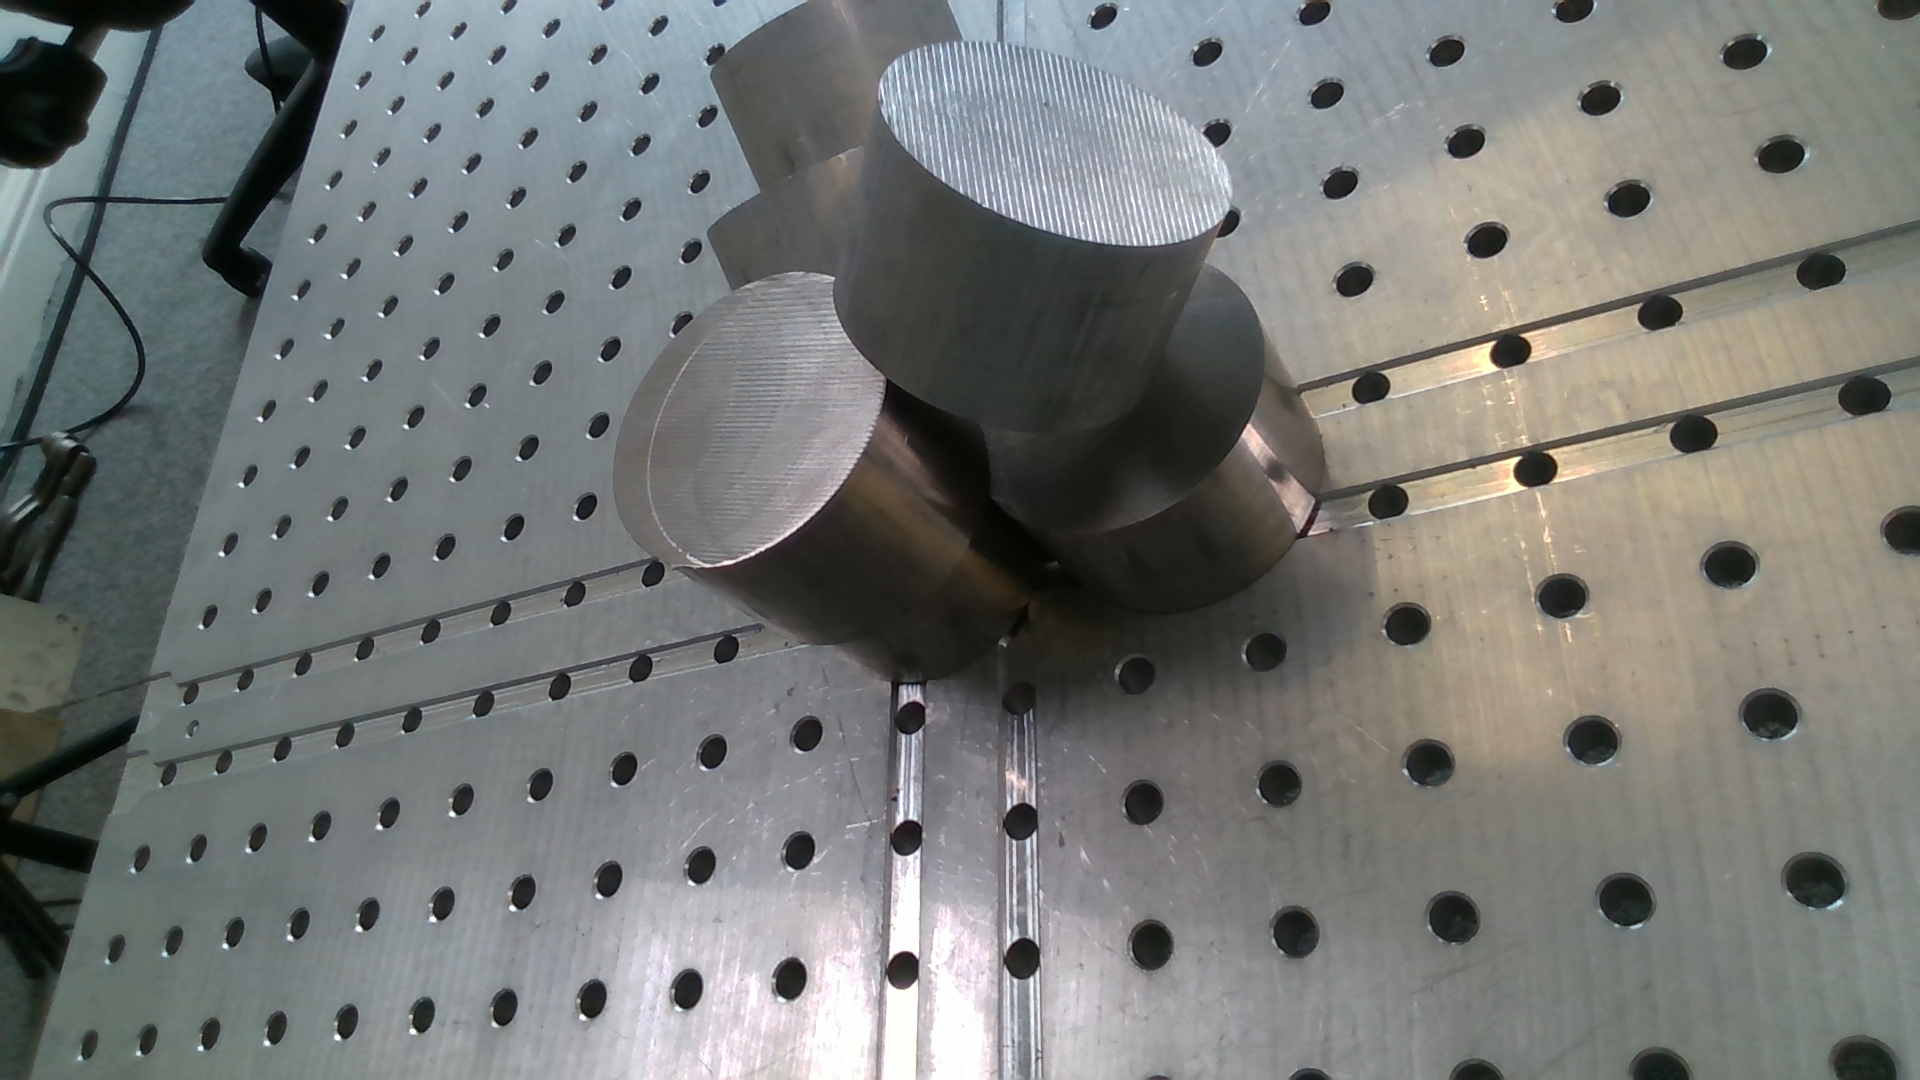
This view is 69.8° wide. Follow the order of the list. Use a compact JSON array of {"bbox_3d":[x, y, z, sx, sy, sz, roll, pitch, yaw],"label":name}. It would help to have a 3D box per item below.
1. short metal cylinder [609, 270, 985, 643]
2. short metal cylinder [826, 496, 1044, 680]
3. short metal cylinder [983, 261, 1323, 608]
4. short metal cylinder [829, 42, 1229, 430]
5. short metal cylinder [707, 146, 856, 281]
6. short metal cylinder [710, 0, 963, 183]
[{"bbox_3d":[-0.041,-0.020,0.349,0.080,0.050,0.080,-14,59,25],"label":"short metal cylinder"},{"bbox_3d":[-0.022,-0.006,0.395,0.080,0.050,0.080,-14,59,25],"label":"short metal cylinder"},{"bbox_3d":[0.049,-0.028,0.364,0.080,0.050,0.080,-14,59,25],"label":"short metal cylinder"},{"bbox_3d":[0.014,-0.071,0.315,0.080,0.080,0.050,63,147,37],"label":"short metal cylinder"},{"bbox_3d":[-0.029,-0.084,0.413,0.080,0.080,0.050,-21,98,21],"label":"short metal cylinder"},{"bbox_3d":[-0.034,-0.142,0.448,0.080,0.080,0.050,-21,98,21],"label":"short metal cylinder"}]
